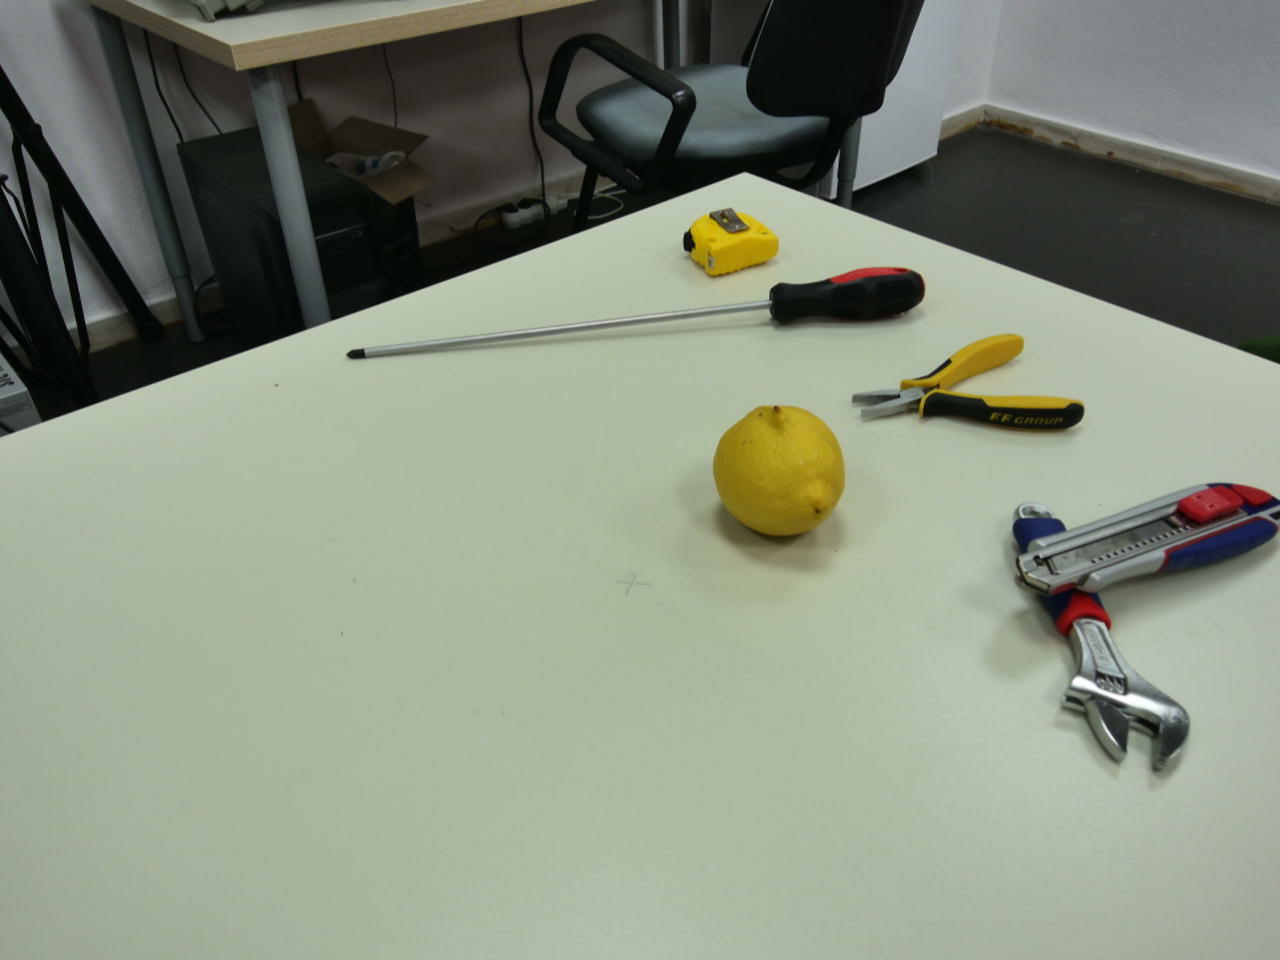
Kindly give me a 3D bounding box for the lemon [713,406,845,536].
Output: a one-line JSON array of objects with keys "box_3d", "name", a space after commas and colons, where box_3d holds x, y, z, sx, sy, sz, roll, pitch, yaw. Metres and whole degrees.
[{"box_3d": [0.073, -0.008, 0.527, 0.070, 0.071, 0.071, 10, 37, 13], "name": "lemon"}]
